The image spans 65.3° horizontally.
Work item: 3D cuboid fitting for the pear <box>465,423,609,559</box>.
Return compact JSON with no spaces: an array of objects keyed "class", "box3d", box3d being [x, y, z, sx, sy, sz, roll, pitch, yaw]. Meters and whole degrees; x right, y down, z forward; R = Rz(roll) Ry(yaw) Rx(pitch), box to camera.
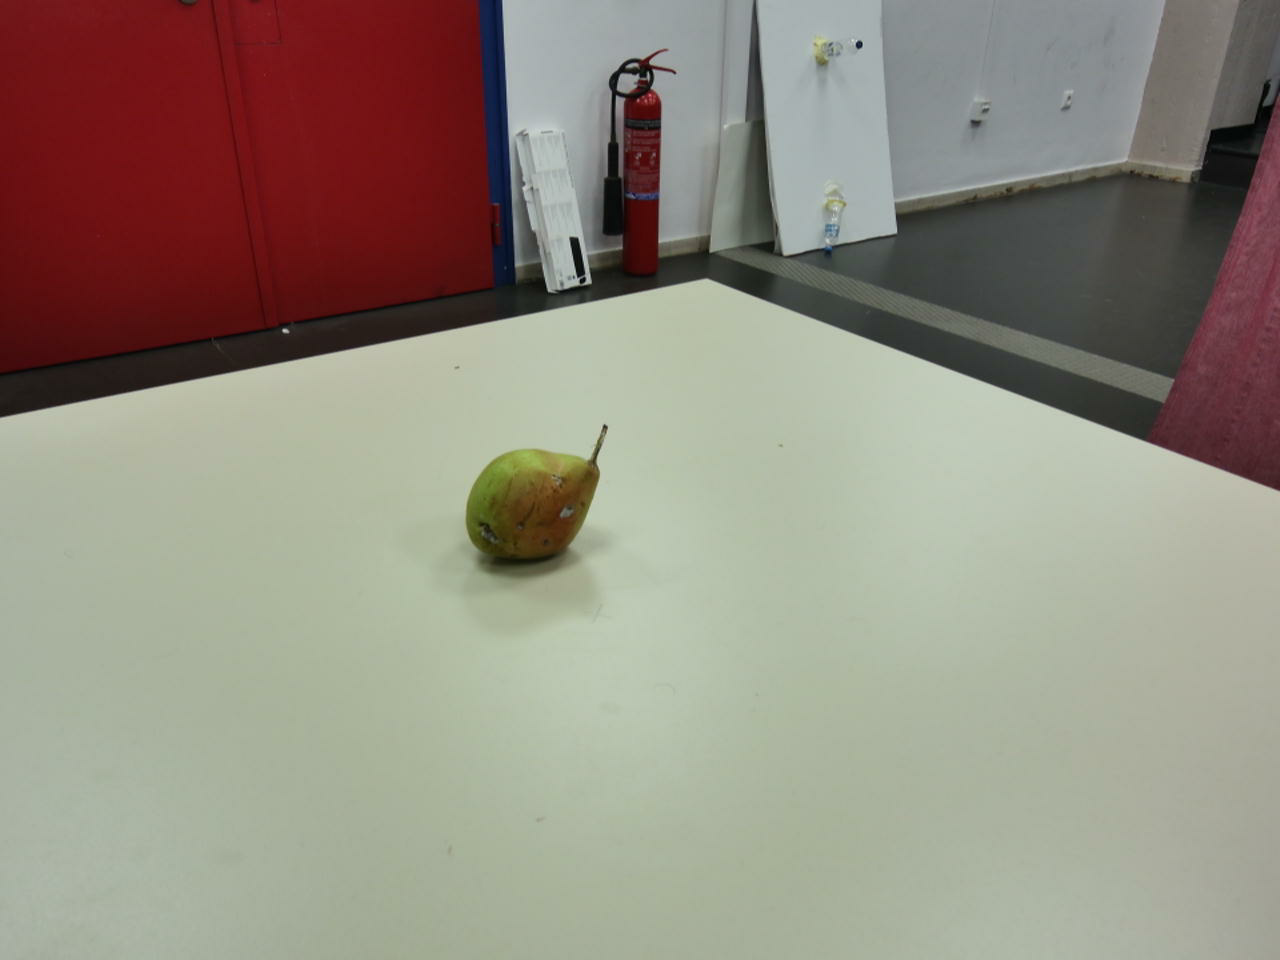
[{"class":"pear","box3d":[-0.060,0.010,0.562,0.070,0.069,0.068,7,27,13]}]
